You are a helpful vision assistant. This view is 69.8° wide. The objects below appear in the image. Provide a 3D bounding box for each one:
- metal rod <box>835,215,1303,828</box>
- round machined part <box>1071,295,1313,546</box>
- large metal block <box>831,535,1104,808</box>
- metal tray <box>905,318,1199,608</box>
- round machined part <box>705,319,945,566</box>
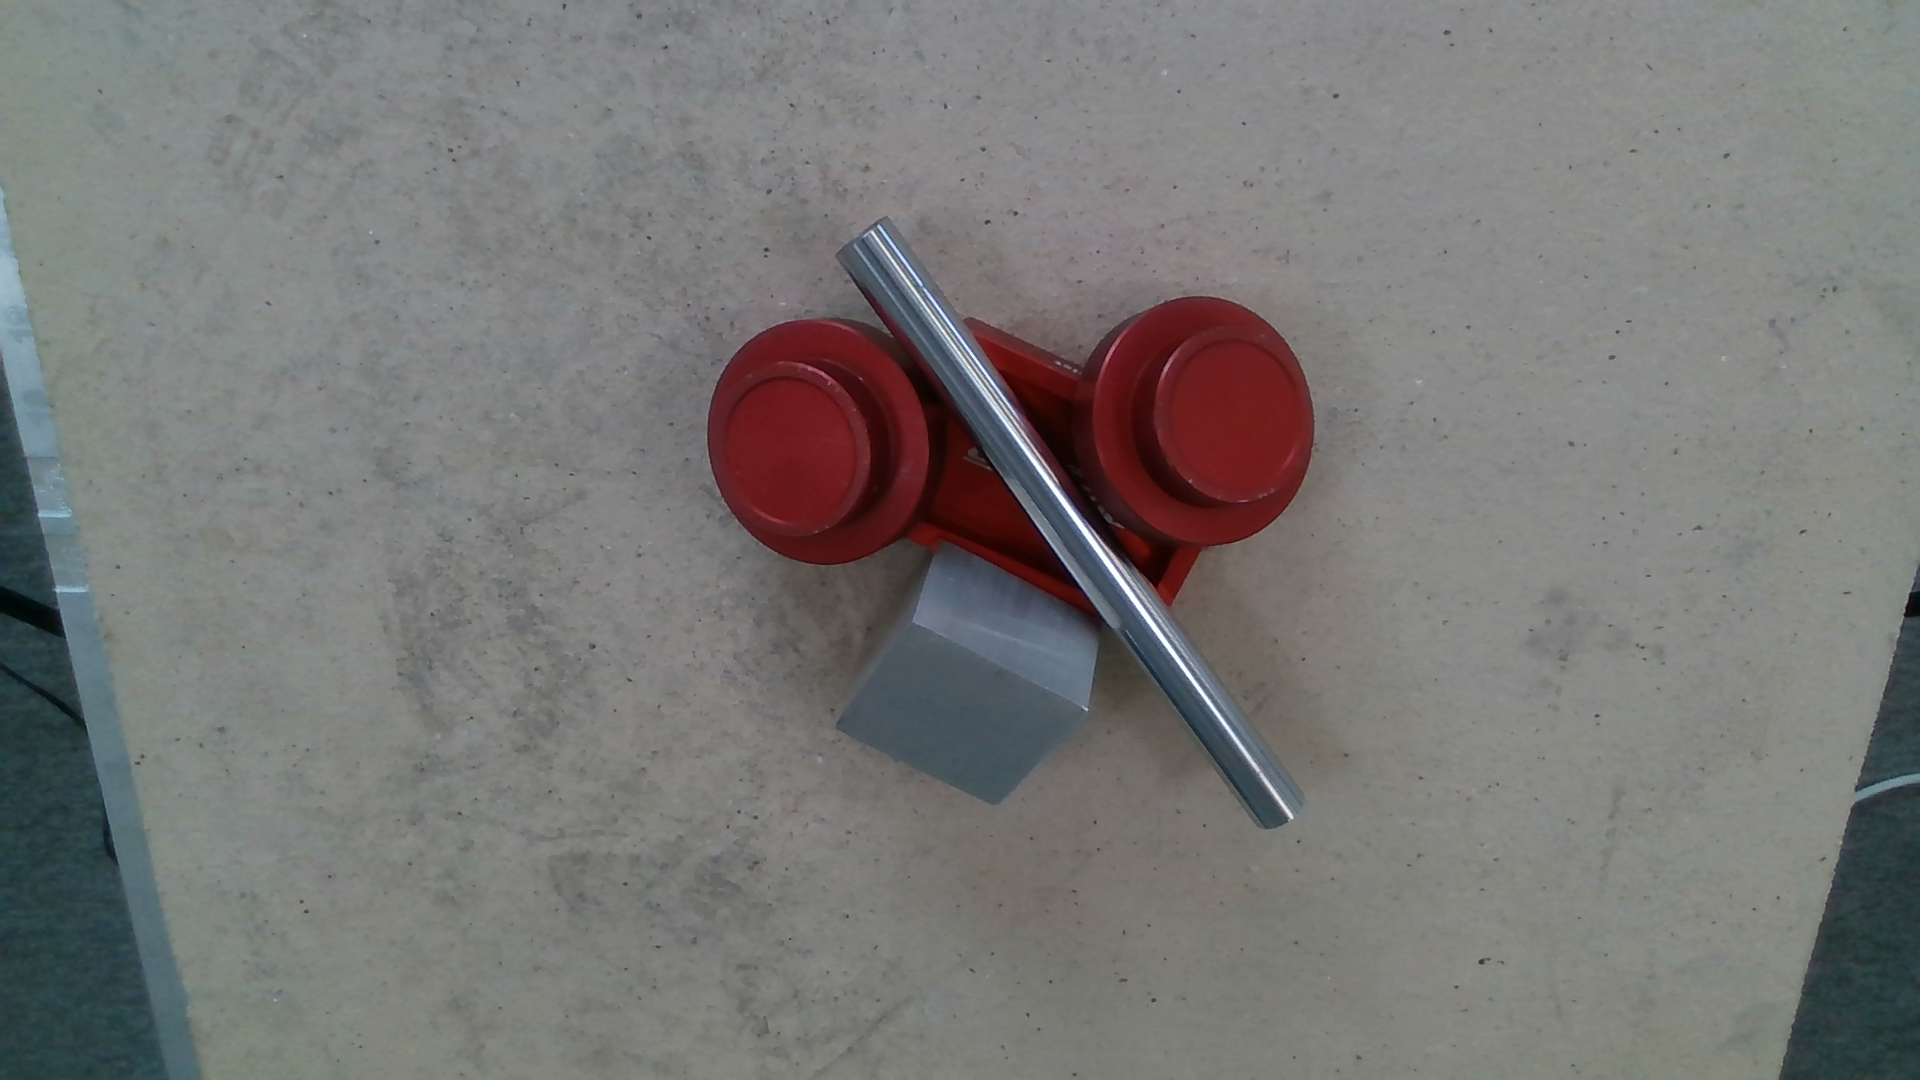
[{"bbox_3d":[0.051,0.001,0.554,0.025,0.025,0.300,-34,107,12],"label":"metal rod"},{"bbox_3d":[0.096,-0.047,0.537,0.098,0.042,0.098,1,88,-19],"label":"round machined part"},{"bbox_3d":[0.003,0.057,0.578,0.080,0.050,0.080,27,132,-10],"label":"large metal block"},{"bbox_3d":[0.040,-0.025,0.573,0.130,0.030,0.090,23,109,-8],"label":"metal tray"},{"bbox_3d":[-0.059,-0.037,0.544,0.098,0.042,0.098,5,103,20],"label":"round machined part"}]
